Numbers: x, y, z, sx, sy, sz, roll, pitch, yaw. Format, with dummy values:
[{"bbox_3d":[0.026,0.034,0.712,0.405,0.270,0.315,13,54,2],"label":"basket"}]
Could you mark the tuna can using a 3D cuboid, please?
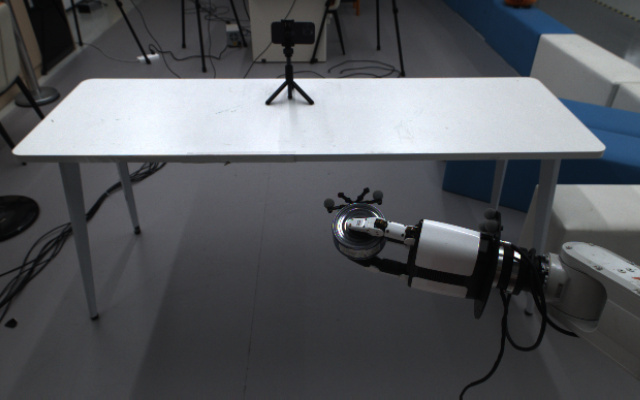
[{"bbox_3d":[0.066,0.053,0.747,0.085,0.034,0.085,-3,58,5],"label":"tuna can"}]
